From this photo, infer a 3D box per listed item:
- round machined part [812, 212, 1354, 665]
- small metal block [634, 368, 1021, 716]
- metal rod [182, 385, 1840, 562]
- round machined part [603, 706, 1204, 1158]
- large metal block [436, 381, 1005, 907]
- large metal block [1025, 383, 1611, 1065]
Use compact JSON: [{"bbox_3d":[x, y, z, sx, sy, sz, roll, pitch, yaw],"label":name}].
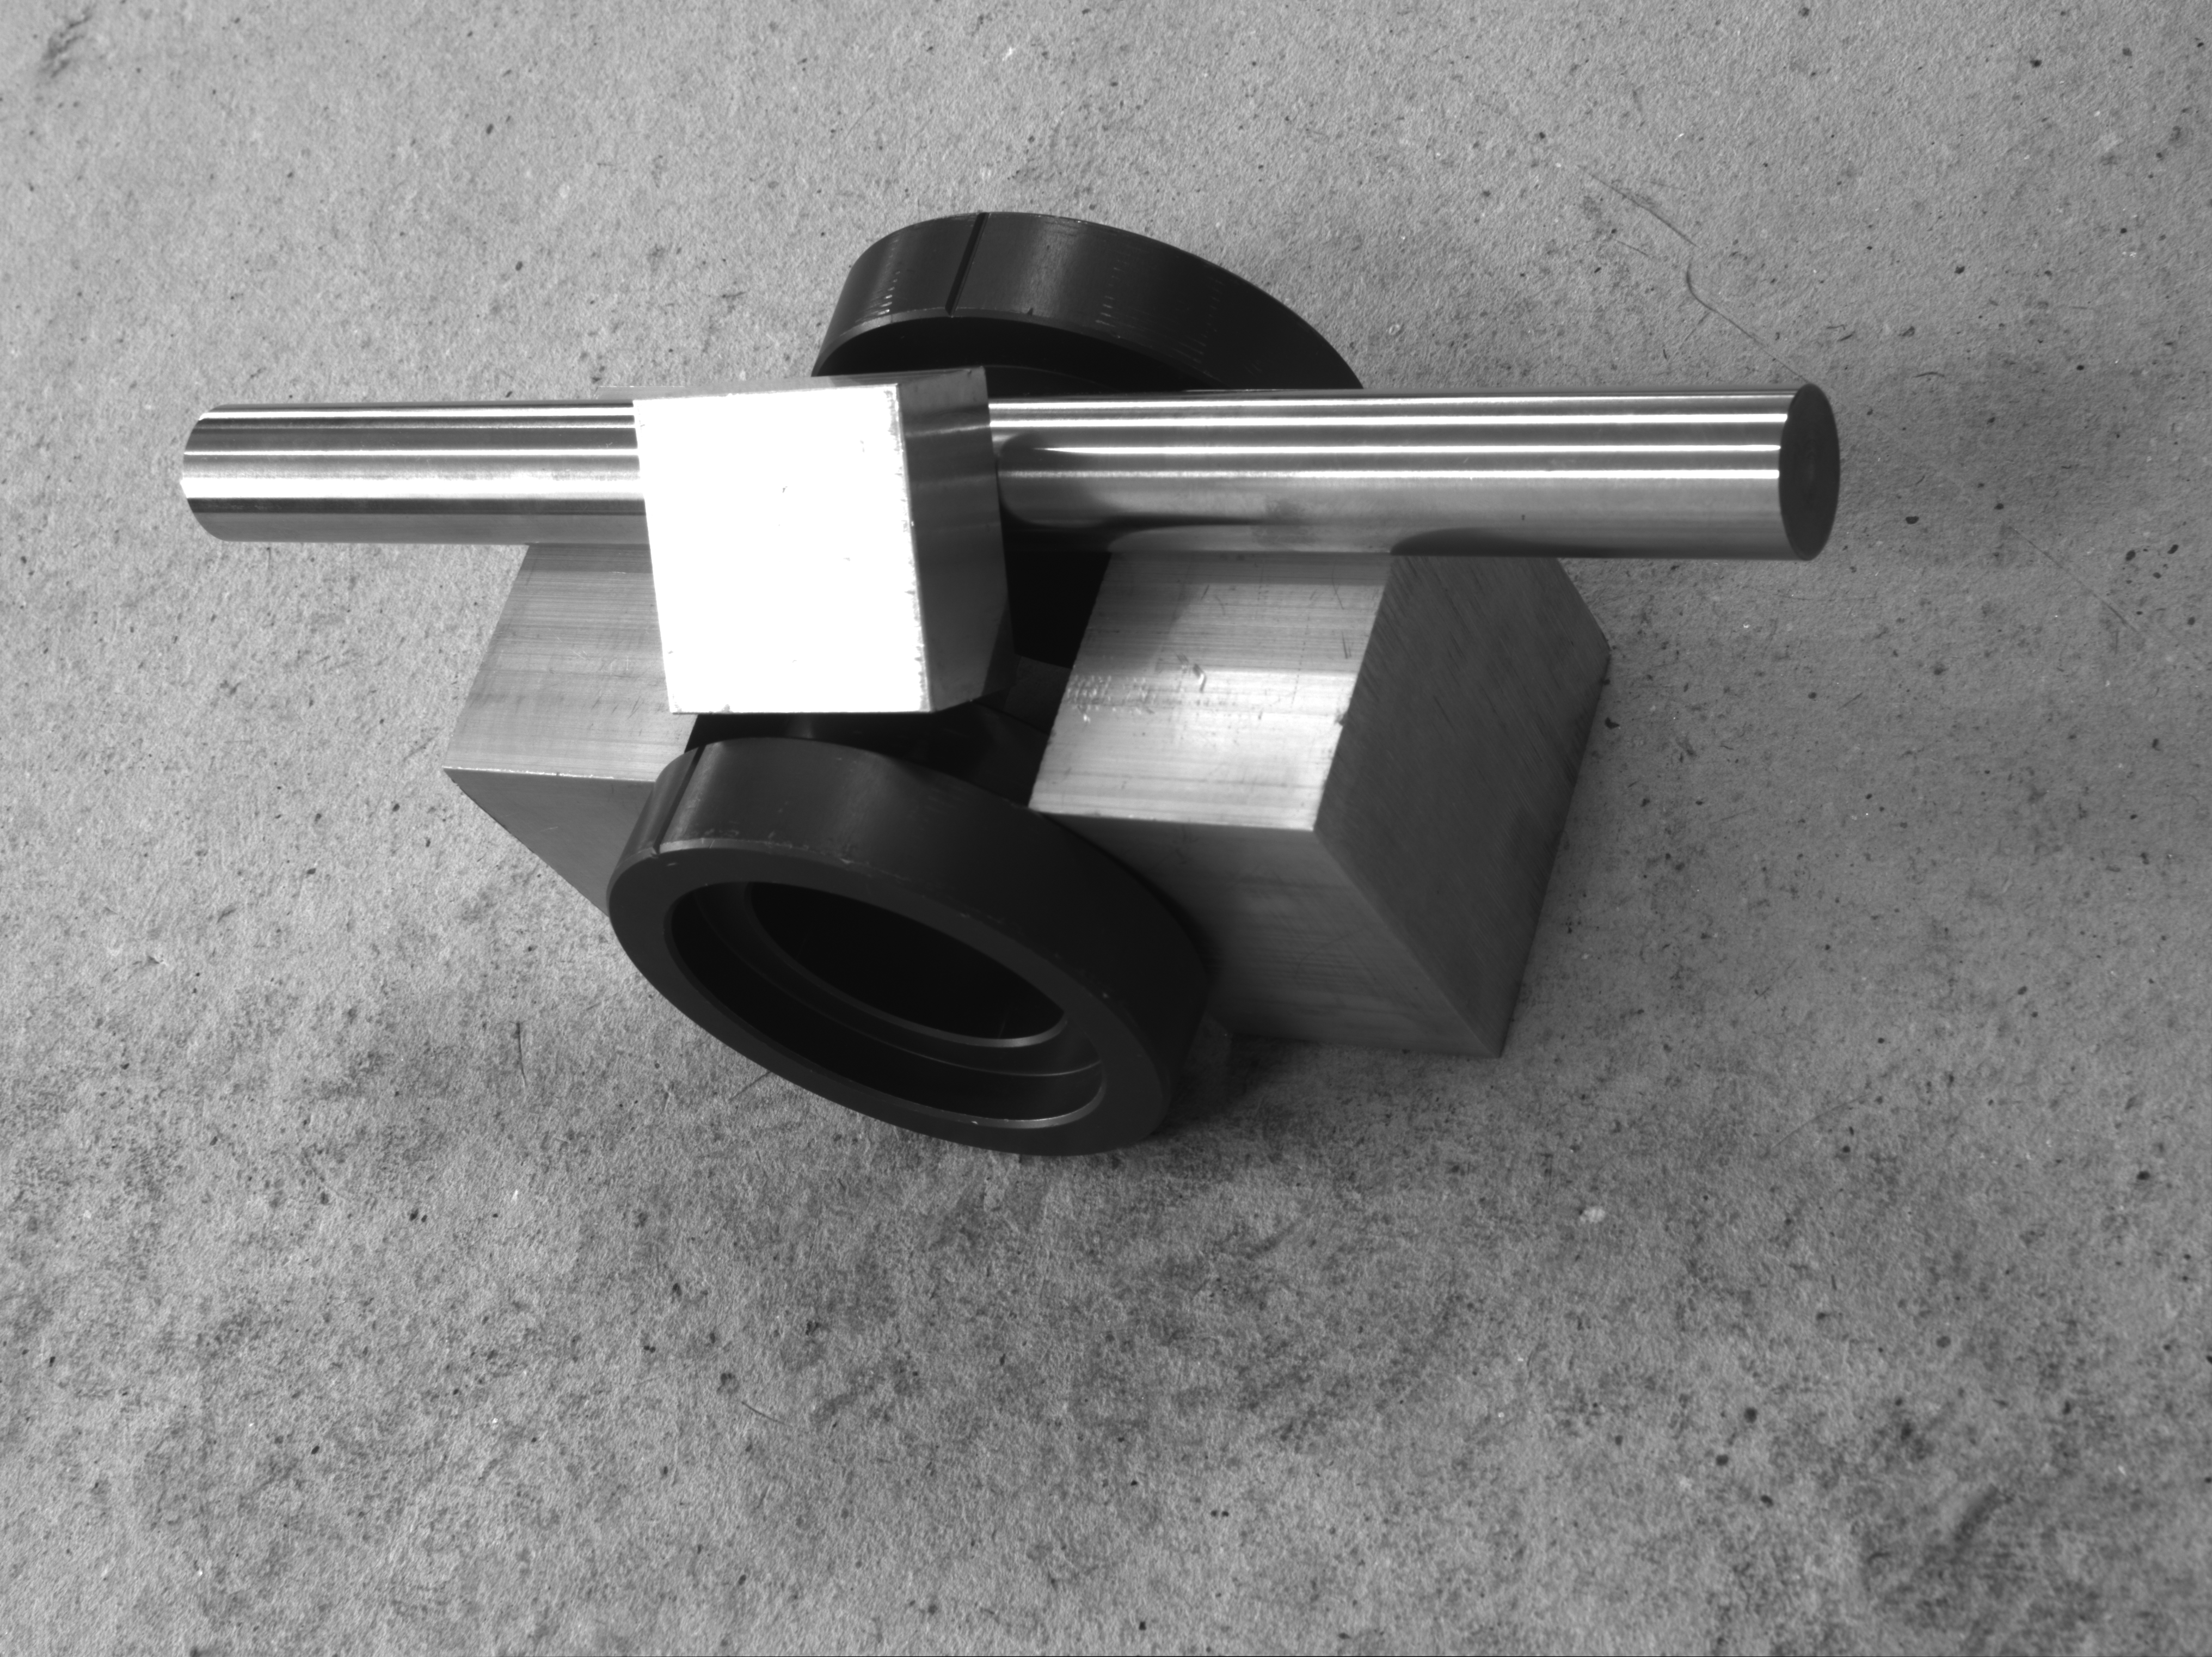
[{"bbox_3d":[-0.005,-0.062,0.639,0.098,0.098,0.042,4,64,30],"label":"round machined part"},{"bbox_3d":[-0.044,-0.045,0.576,0.050,0.025,0.050,1,102,31],"label":"small metal block"},{"bbox_3d":[-0.030,-0.057,0.594,0.299,0.025,0.025,3,63,30],"label":"metal rod"},{"bbox_3d":[-0.030,0.012,0.607,0.098,0.098,0.042,5,59,31],"label":"round machined part"},{"bbox_3d":[-0.064,-0.024,0.660,0.050,0.080,0.080,4,64,31],"label":"large metal block"},{"bbox_3d":[0.037,-0.017,0.601,0.050,0.080,0.080,4,63,30],"label":"large metal block"}]
